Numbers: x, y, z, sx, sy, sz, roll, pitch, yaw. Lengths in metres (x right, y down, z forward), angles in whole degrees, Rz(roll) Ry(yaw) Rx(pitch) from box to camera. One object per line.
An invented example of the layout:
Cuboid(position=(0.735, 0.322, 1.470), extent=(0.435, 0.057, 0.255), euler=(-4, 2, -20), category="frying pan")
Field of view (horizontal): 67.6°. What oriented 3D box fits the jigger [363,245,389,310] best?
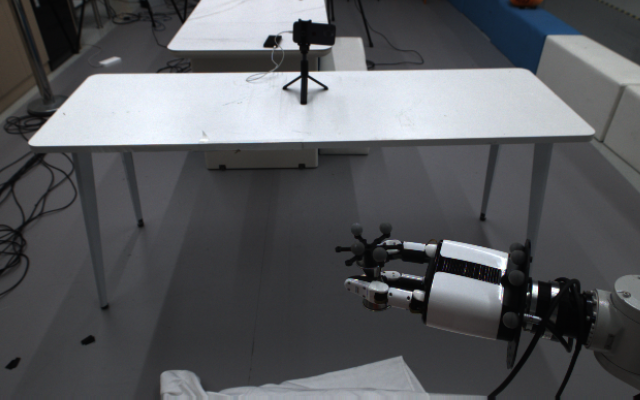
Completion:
Cuboid(position=(0.075, 0.105, 0.650), extent=(0.043, 0.071, 0.043), euler=(-11, 23, 5), category="jigger")
